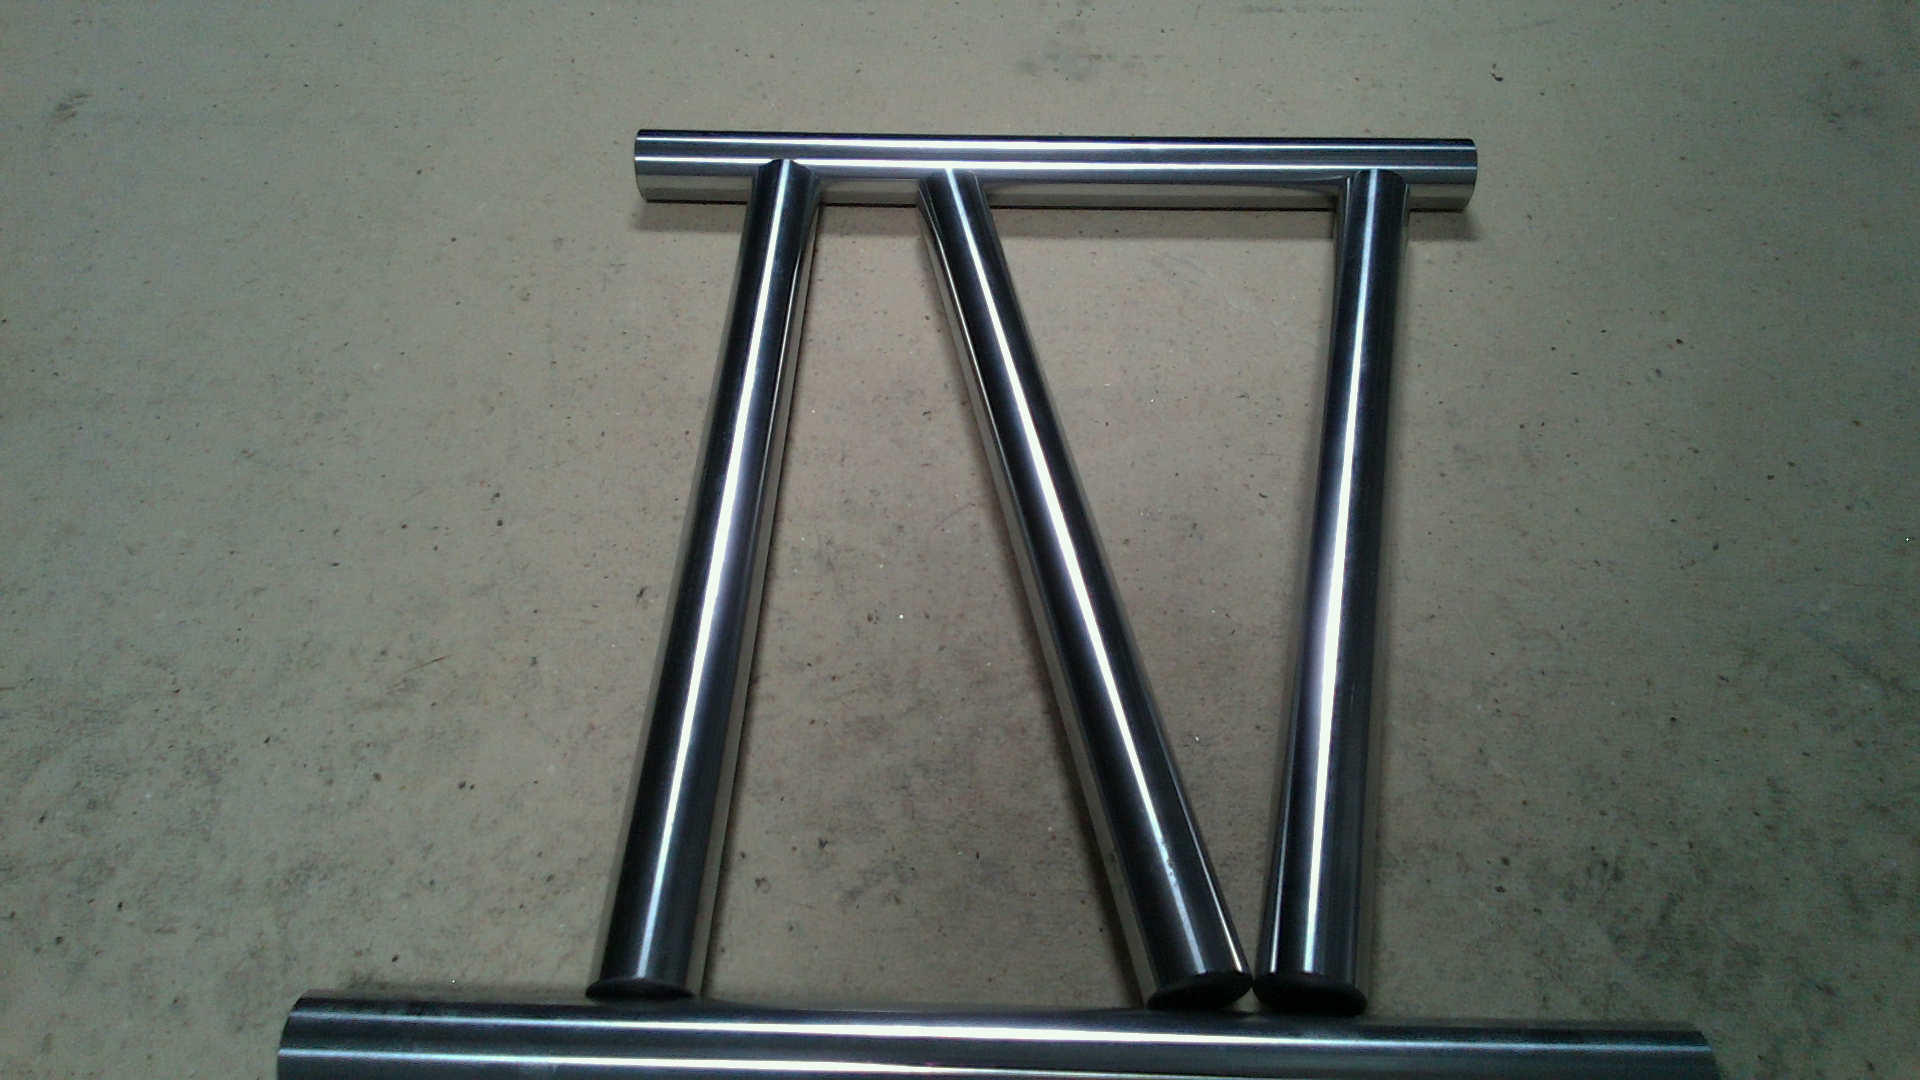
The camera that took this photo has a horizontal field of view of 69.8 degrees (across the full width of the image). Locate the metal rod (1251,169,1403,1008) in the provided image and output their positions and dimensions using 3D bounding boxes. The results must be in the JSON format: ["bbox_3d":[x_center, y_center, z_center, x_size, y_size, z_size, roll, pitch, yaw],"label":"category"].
[{"bbox_3d":[0.112,-0.011,0.400,0.025,0.025,0.300,10,51,9],"label":"metal rod"}]

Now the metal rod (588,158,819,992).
[{"bbox_3d":[-0.066,-0.013,0.402,0.025,0.025,0.300,1,50,1],"label":"metal rod"}]

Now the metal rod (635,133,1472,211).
[{"bbox_3d":[0.033,-0.135,0.505,0.300,0.025,0.025,1,50,1],"label":"metal rod"}]

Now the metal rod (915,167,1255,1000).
[{"bbox_3d":[0.024,-0.011,0.400,0.025,0.025,0.300,-9,50,-7],"label":"metal rod"}]

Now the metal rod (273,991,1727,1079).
[{"bbox_3d":[0.008,0.113,0.296,0.300,0.025,0.025,1,50,1],"label":"metal rod"}]
